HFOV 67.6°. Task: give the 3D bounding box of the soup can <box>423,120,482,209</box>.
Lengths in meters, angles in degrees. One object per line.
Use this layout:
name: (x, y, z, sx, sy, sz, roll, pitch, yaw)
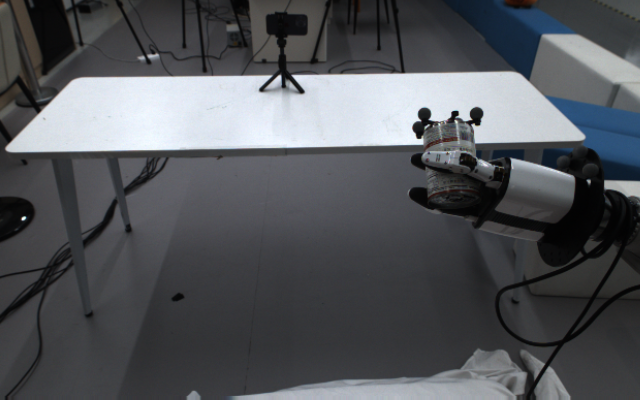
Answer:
soup can: (0.174, -0.046, 0.638, 0.067, 0.067, 0.101, 1, 72, -2)
